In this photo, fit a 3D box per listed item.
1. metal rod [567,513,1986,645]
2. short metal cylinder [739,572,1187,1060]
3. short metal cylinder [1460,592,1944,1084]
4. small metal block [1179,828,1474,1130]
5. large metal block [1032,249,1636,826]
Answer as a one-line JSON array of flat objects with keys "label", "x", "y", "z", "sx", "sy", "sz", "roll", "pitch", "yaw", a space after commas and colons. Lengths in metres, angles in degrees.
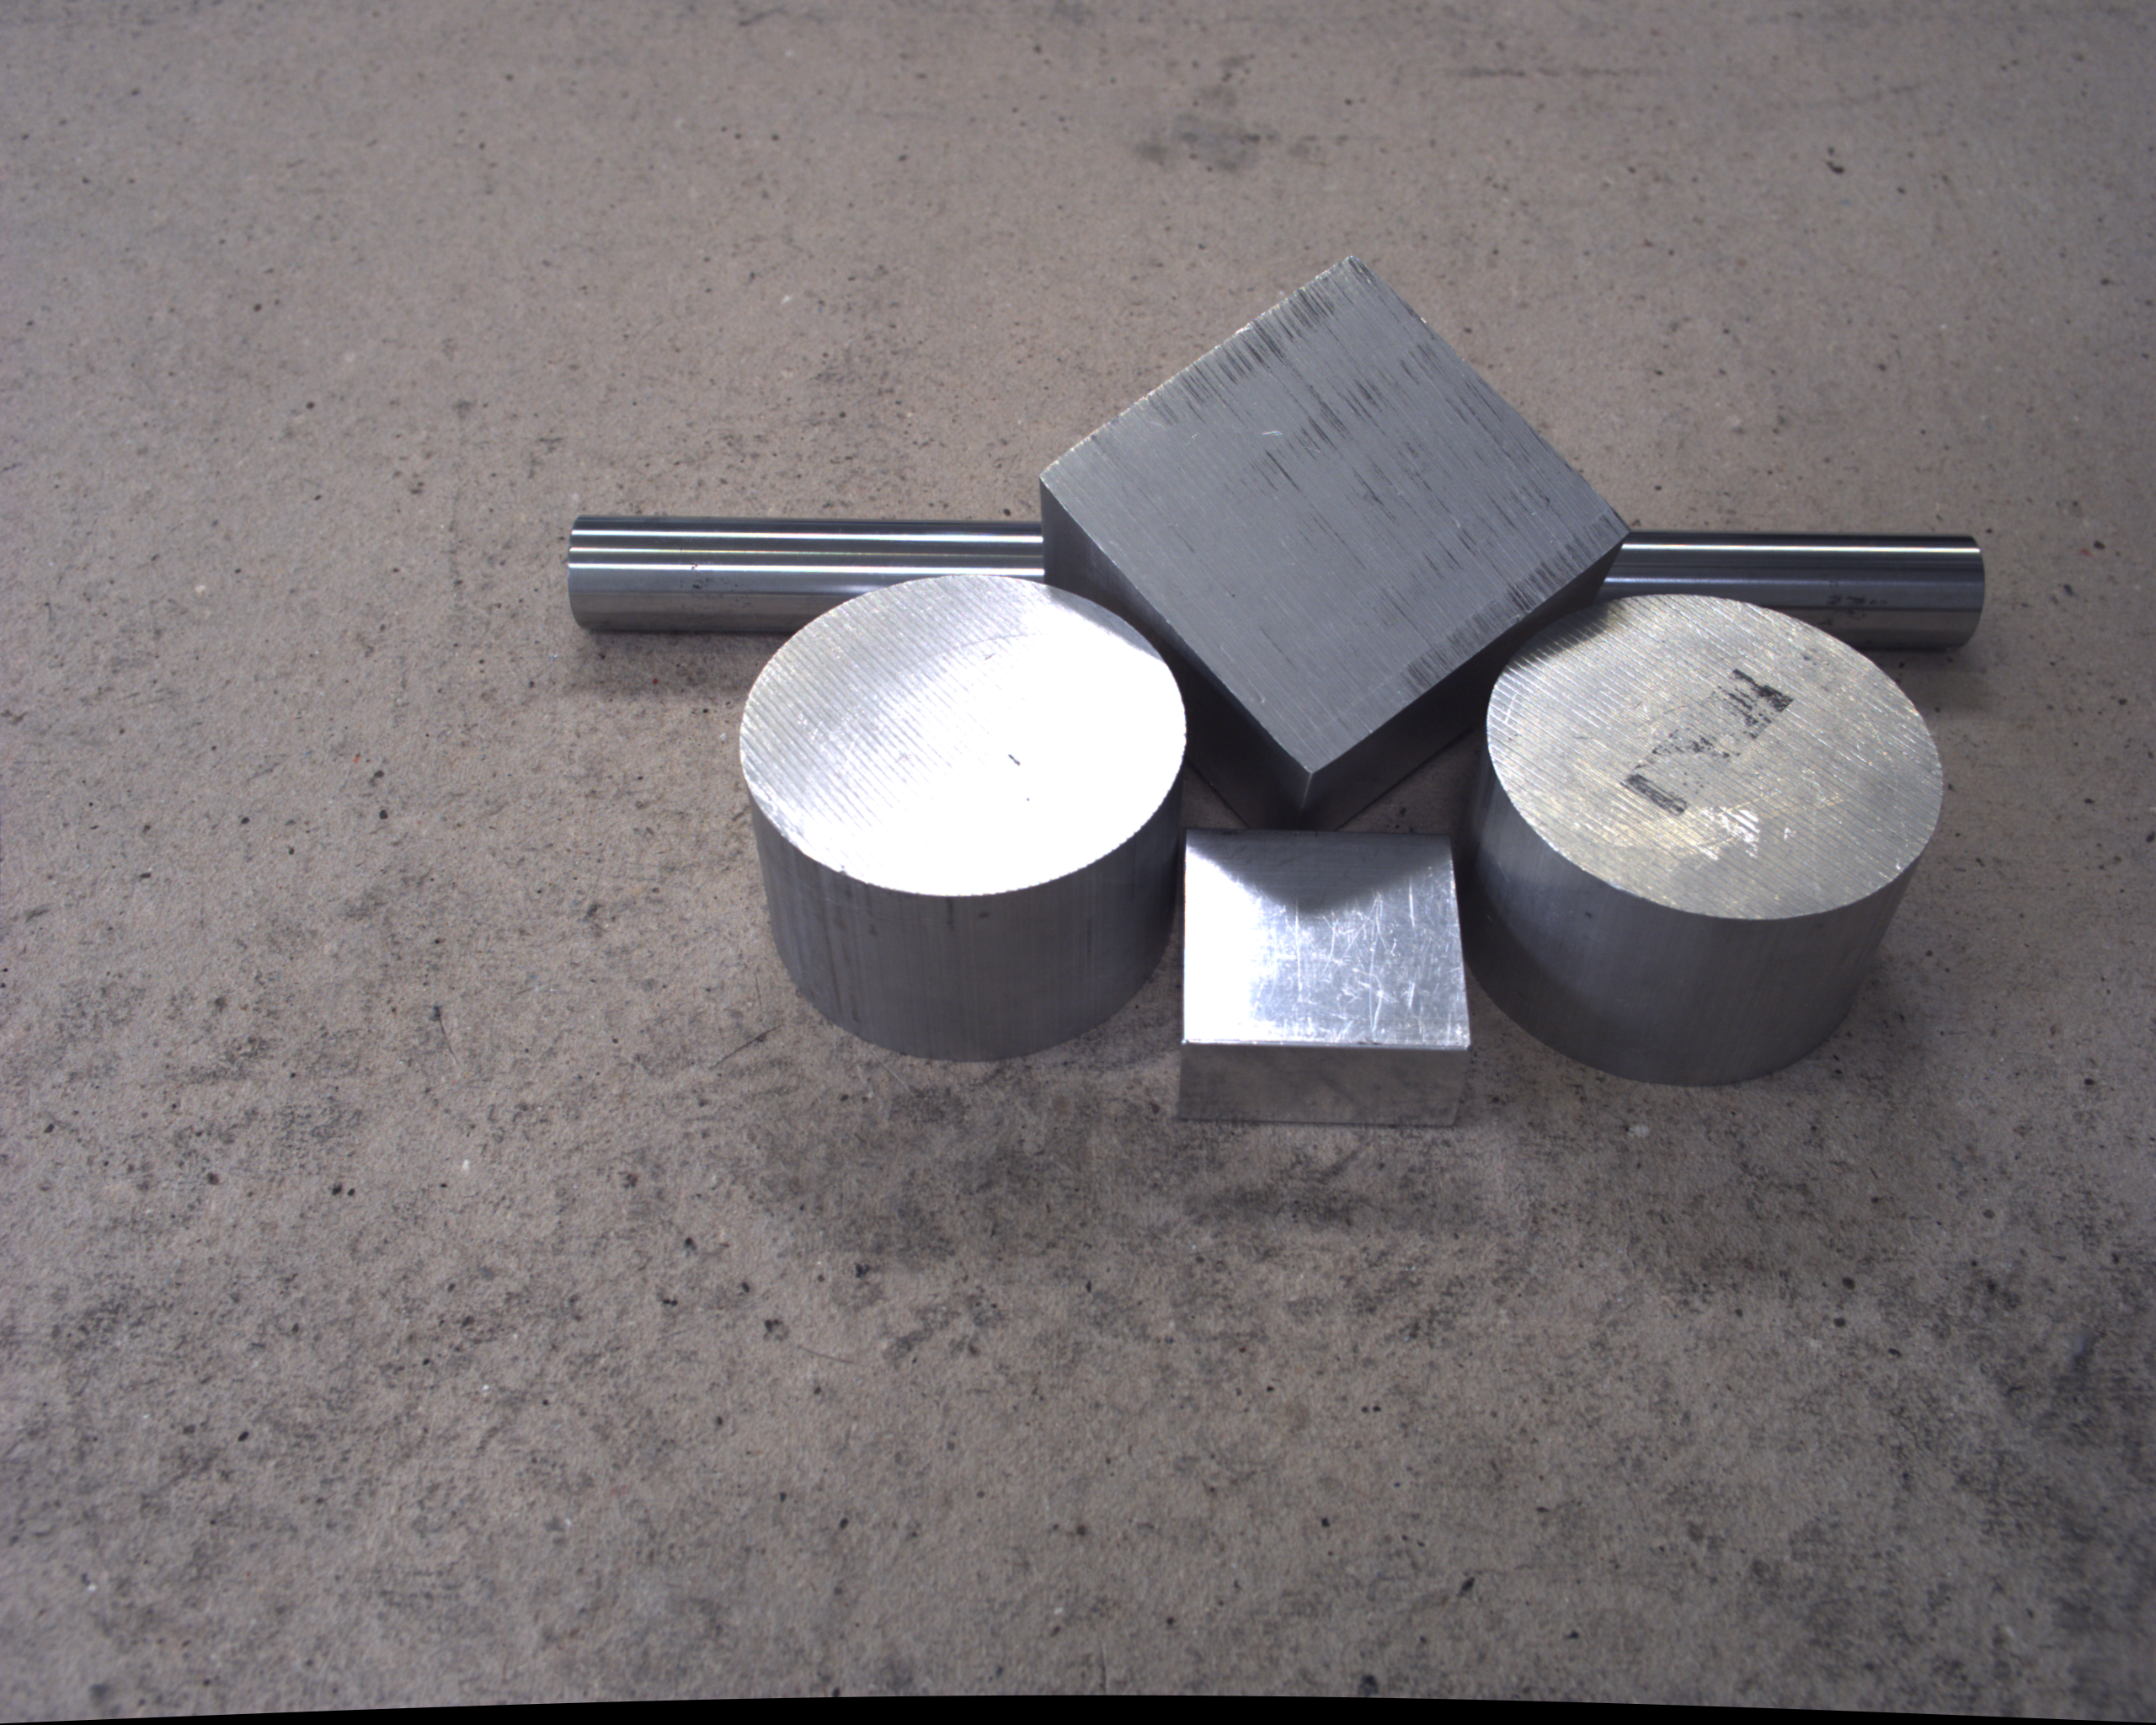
[{"label": "metal rod", "x": 0.042, "y": -0.062, "z": 0.456, "sx": 0.302, "sy": 0.025, "sz": 0.025, "roll": 1, "pitch": 50, "yaw": 0}, {"label": "short metal cylinder", "x": -0.021, "y": -0.010, "z": 0.395, "sx": 0.081, "sy": 0.050, "sz": 0.080, "roll": 0, "pitch": 50, "yaw": 0}, {"label": "short metal cylinder", "x": 0.114, "y": -0.005, "z": 0.393, "sx": 0.081, "sy": 0.050, "sz": 0.080, "roll": 0, "pitch": 50, "yaw": 0}, {"label": "small metal block", "x": 0.044, "y": 0.021, "z": 0.388, "sx": 0.050, "sy": 0.025, "sz": 0.050, "roll": 2, "pitch": 50, "yaw": 1}, {"label": "large metal block", "x": 0.048, "y": -0.060, "z": 0.416, "sx": 0.080, "sy": 0.050, "sz": 0.080, "roll": -37, "pitch": 75, "yaw": -12}]
